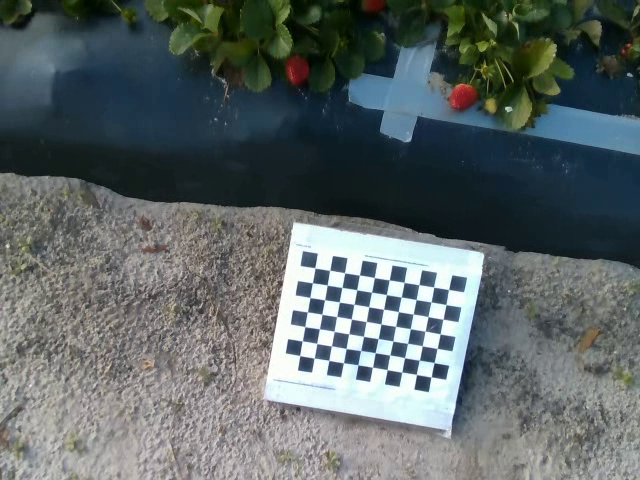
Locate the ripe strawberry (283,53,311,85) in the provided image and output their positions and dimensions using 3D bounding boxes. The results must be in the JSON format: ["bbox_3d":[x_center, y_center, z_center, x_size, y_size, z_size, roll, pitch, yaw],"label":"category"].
[{"bbox_3d":[-0.018,-0.117,0.388,0.018,0.023,0.021,1,-26,17],"label":"ripe strawberry"}]

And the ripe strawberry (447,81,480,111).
[{"bbox_3d":[0.100,-0.098,0.394,0.023,0.026,0.021,19,-37,23],"label":"ripe strawberry"}]
